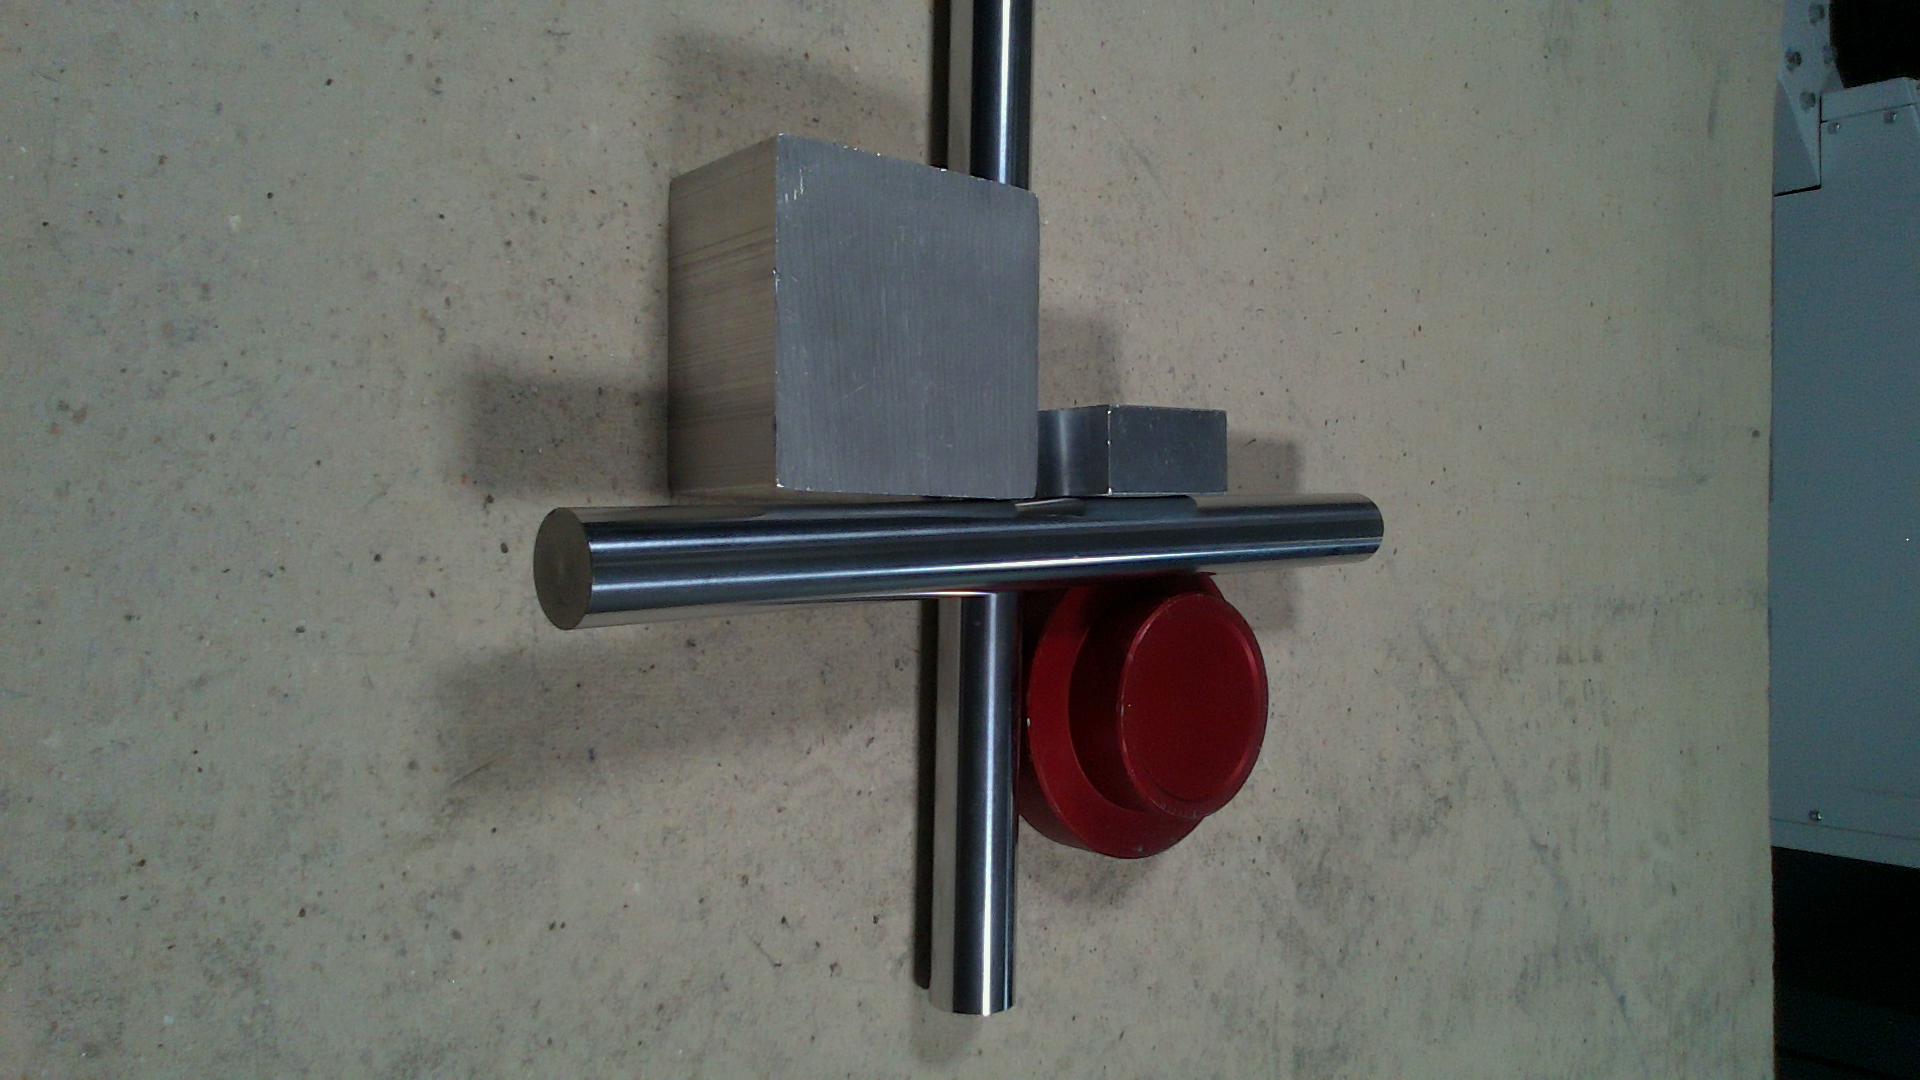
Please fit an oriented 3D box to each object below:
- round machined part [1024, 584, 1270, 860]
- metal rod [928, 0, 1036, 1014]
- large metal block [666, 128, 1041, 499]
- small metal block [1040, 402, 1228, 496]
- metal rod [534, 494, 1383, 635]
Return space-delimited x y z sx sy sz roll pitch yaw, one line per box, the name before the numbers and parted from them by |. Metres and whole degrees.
round machined part | 0.058 0.050 0.425 0.098 0.042 0.098 0 90 -40
metal rod | 0.007 -0.019 0.394 0.025 0.025 0.300 2 89 -40
large metal block | -0.026 -0.051 0.350 0.080 0.050 0.080 1 89 -40
small metal block | 0.044 -0.026 0.410 0.050 0.050 0.025 -2 91 -40
metal rod | 0.029 0.001 0.381 0.301 0.025 0.025 -3 92 -44
